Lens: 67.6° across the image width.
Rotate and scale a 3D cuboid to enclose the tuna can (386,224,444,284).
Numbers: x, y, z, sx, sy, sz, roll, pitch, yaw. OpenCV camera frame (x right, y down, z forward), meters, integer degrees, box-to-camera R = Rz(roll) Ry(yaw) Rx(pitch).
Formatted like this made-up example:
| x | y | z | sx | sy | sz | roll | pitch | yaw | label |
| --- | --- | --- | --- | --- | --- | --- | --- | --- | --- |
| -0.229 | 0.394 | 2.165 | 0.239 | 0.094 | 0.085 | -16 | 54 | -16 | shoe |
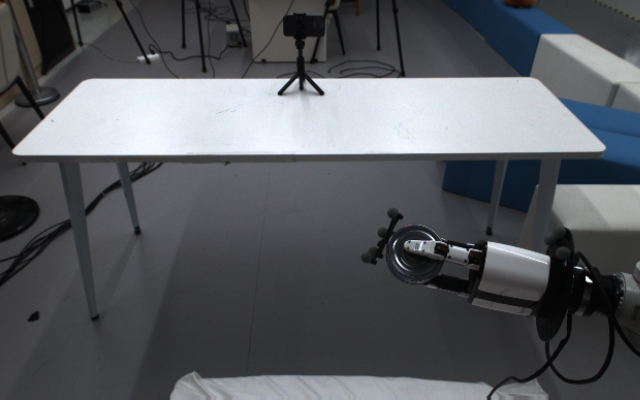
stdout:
| x | y | z | sx | sy | sz | roll | pitch | yaw | label |
| --- | --- | --- | --- | --- | --- | --- | --- | --- | --- |
| 0.143 | 0.078 | 0.712 | 0.085 | 0.034 | 0.085 | -2 | 71 | 5 | tuna can |
